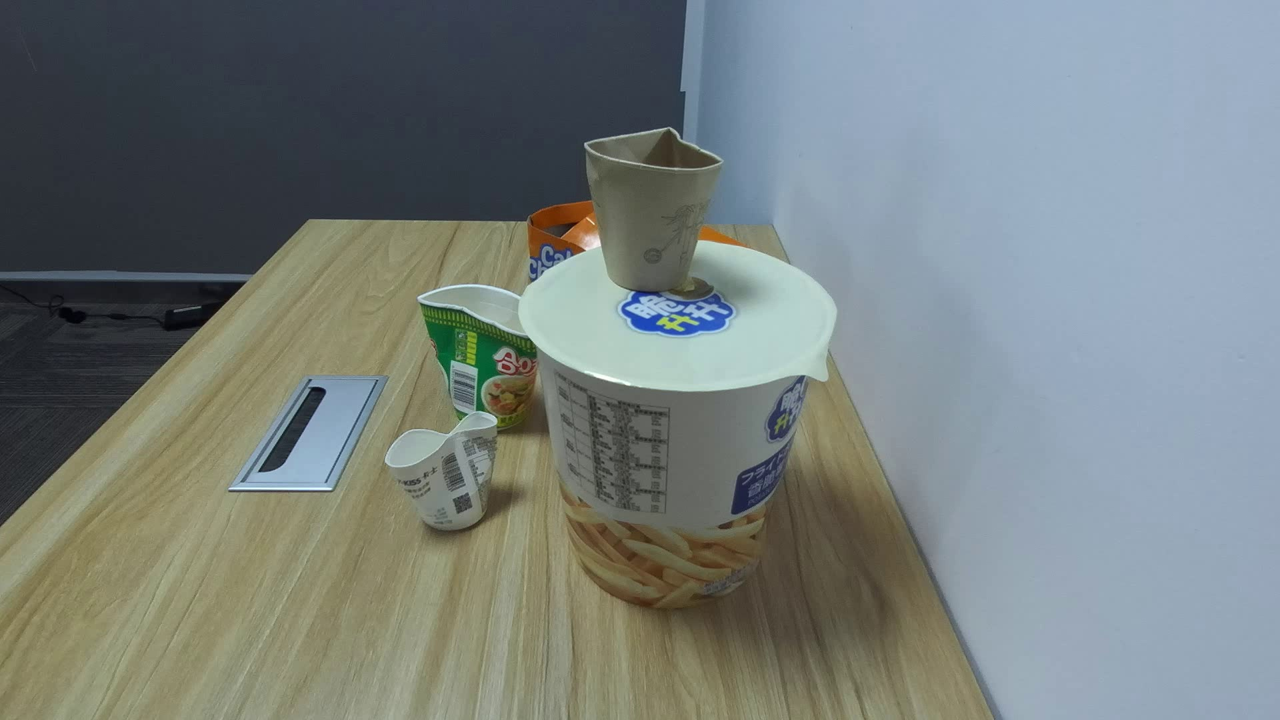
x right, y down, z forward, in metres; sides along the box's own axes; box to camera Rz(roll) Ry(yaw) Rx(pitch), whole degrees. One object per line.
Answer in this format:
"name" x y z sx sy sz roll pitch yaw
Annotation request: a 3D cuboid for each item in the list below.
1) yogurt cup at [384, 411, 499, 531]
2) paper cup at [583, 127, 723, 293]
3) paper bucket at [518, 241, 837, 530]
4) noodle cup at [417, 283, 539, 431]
"yogurt cup" -0.142 0.083 0.525 0.053 0.071 0.075 15 36 18
"paper cup" 0.005 -0.089 0.431 0.066 0.084 0.071 -17 40 -25
"paper bucket" 0.022 0.045 0.478 0.198 0.195 0.198 1 33 0
"noodle cup" -0.133 0.001 0.616 0.070 0.111 0.114 -24 41 -34
